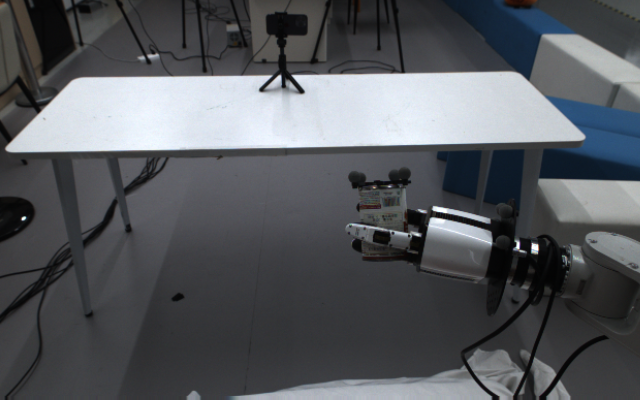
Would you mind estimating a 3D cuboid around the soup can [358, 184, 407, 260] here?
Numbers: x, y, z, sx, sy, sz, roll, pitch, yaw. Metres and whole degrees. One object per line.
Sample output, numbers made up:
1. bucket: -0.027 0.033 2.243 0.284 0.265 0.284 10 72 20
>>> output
1. soup can: 0.091 0.032 0.676 0.067 0.101 0.067 -3 -1 0
